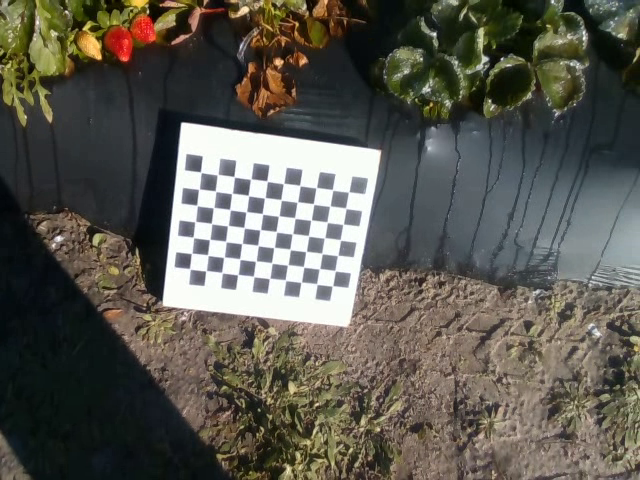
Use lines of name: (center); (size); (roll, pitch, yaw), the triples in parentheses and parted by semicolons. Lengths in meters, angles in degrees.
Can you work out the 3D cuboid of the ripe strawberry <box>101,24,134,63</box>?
ripe strawberry: (-0.247, -0.238, 1.417); (0.036, 0.052, 0.040); (-30, -18, 1)
